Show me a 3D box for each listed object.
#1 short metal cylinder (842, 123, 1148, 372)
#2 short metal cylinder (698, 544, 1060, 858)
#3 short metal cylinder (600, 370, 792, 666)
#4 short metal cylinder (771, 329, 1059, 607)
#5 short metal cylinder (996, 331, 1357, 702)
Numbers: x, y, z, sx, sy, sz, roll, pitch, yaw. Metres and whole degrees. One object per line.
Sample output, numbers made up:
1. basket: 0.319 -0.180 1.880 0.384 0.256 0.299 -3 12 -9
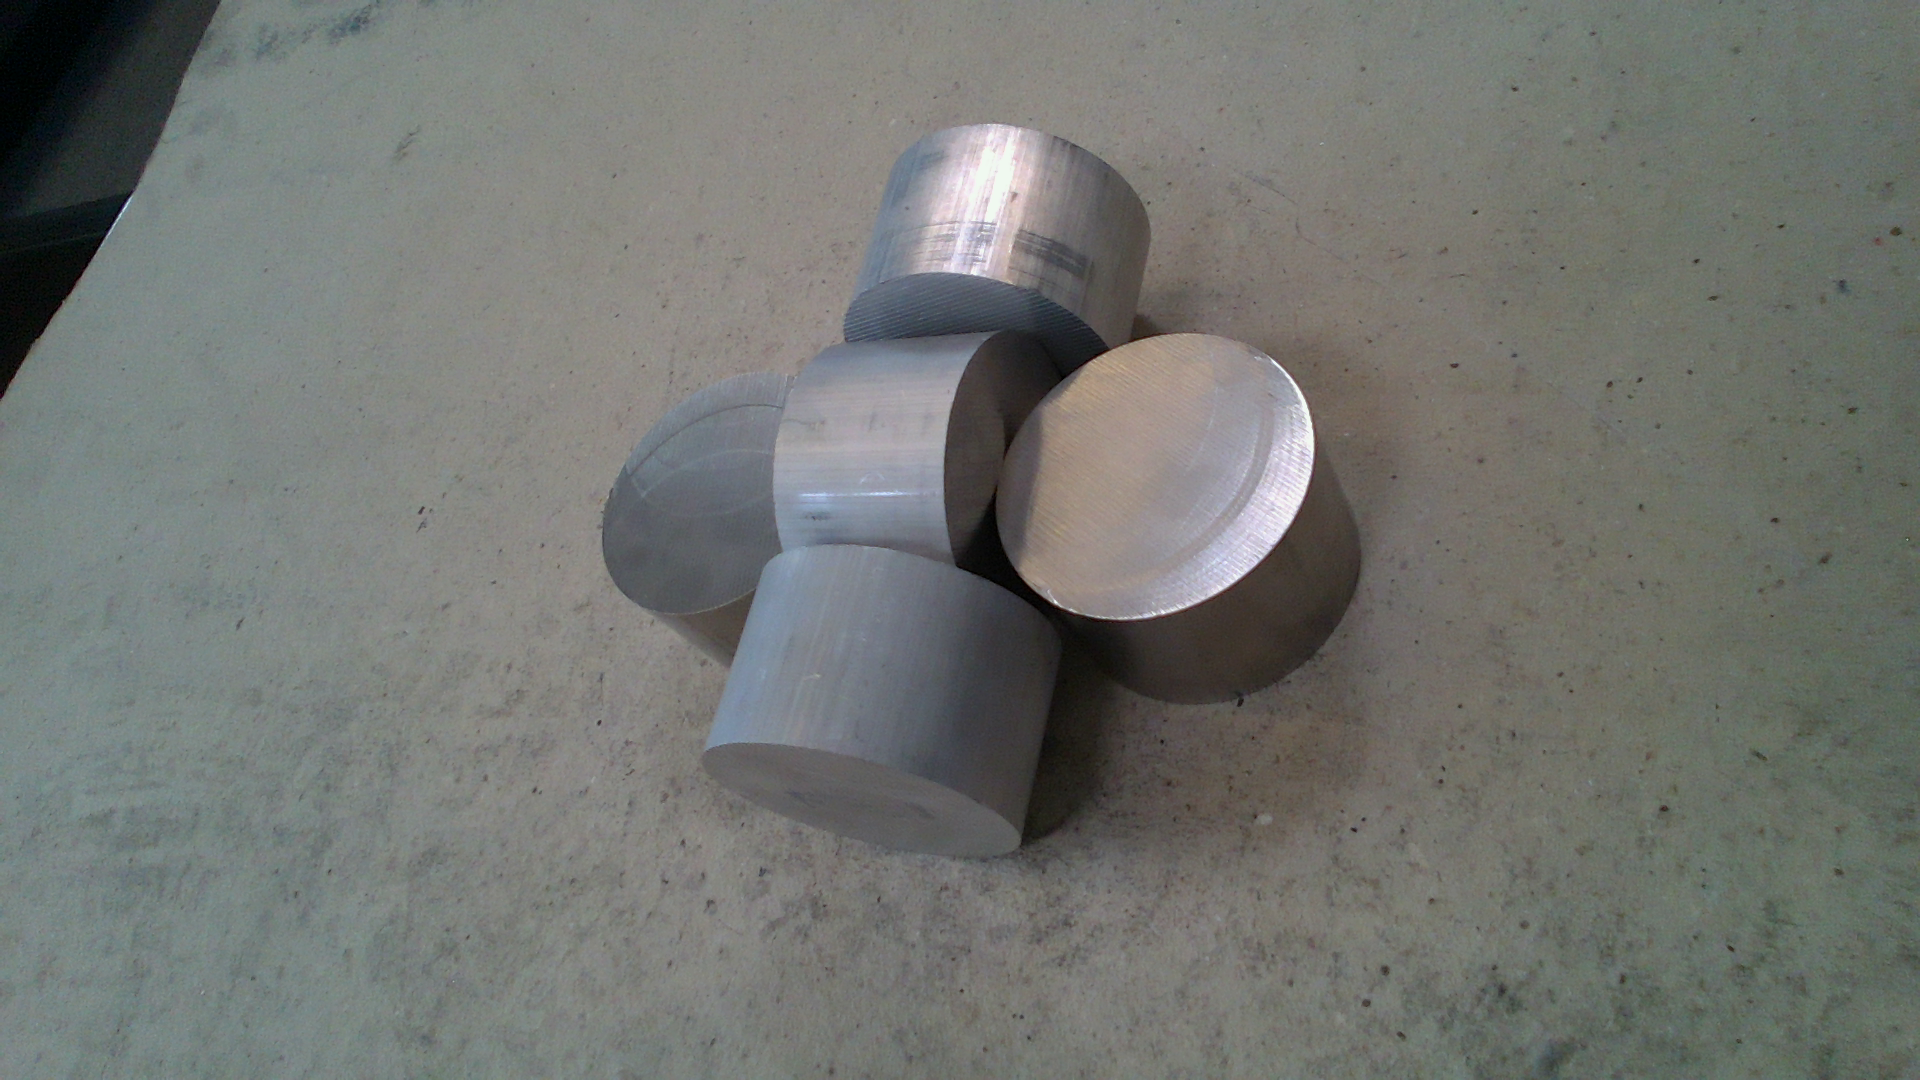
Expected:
1. short metal cylinder: 0.011 -0.073 0.398 0.080 0.080 0.050 0 61 28
2. short metal cylinder: -0.019 0.042 0.343 0.080 0.080 0.050 0 61 28
3. short metal cylinder: -0.059 -0.003 0.412 0.080 0.050 0.080 -13 56 20
4. short metal cylinder: -0.007 -0.015 0.372 0.050 0.080 0.080 0 62 29
5. short metal cylinder: 0.056 -0.006 0.350 0.080 0.050 0.080 -14 56 21
